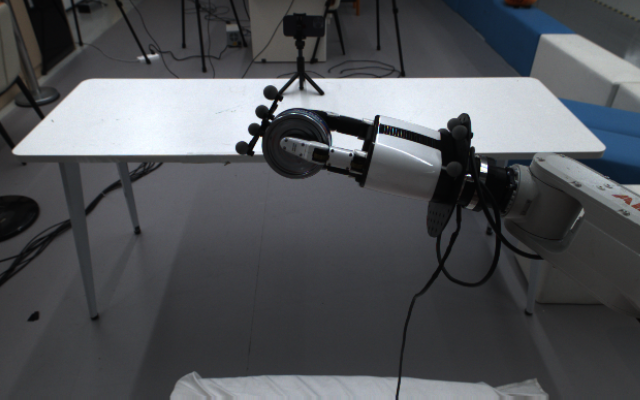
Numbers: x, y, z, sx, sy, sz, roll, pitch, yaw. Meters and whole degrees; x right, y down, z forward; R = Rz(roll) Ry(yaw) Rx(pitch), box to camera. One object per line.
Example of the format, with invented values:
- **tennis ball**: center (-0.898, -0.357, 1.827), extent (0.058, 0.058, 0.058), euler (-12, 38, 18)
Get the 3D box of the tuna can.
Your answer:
- **tuna can**: center (-0.025, -0.067, 0.607), extent (0.085, 0.085, 0.034), euler (3, 21, 2)
